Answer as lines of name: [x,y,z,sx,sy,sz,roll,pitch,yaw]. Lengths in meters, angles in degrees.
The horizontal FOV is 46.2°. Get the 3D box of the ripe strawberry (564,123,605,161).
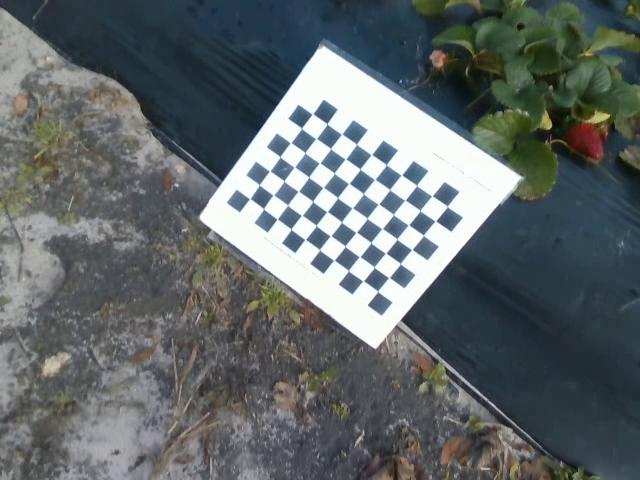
ripe strawberry: [0.303,-0.130,0.861,0.050,0.064,0.043,-22,-8,9]
